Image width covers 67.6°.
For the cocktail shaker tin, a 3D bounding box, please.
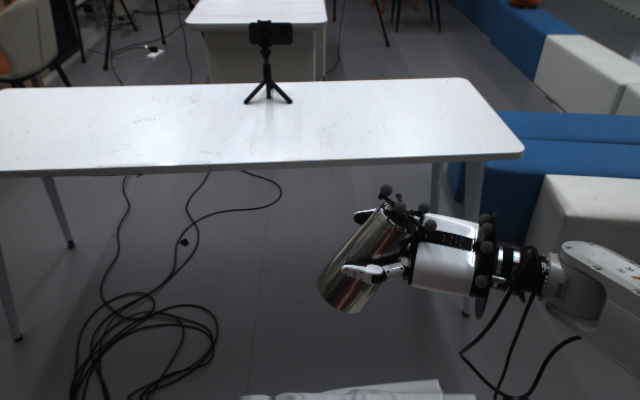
[{"bbox_3d":[0.075,0.079,0.746,0.093,0.170,0.093,26,32,-18],"label":"cocktail shaker tin"}]
